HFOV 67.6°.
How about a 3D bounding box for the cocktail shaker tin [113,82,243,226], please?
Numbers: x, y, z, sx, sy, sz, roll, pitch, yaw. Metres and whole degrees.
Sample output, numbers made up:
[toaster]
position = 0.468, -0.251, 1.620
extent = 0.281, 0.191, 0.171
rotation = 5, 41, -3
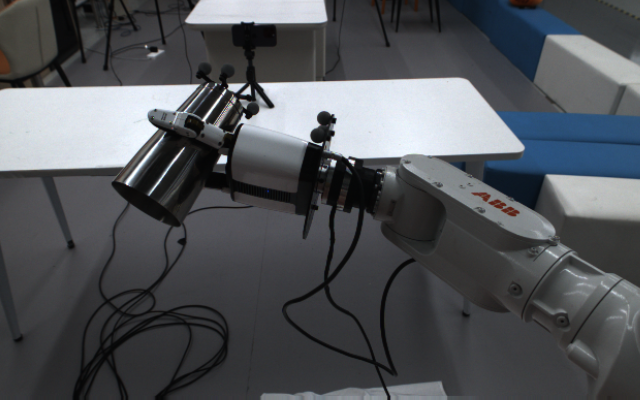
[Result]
[cocktail shaker tin]
position = -0.164, -0.065, 0.597
extent = 0.093, 0.093, 0.170
rotation = 18, 66, 22
